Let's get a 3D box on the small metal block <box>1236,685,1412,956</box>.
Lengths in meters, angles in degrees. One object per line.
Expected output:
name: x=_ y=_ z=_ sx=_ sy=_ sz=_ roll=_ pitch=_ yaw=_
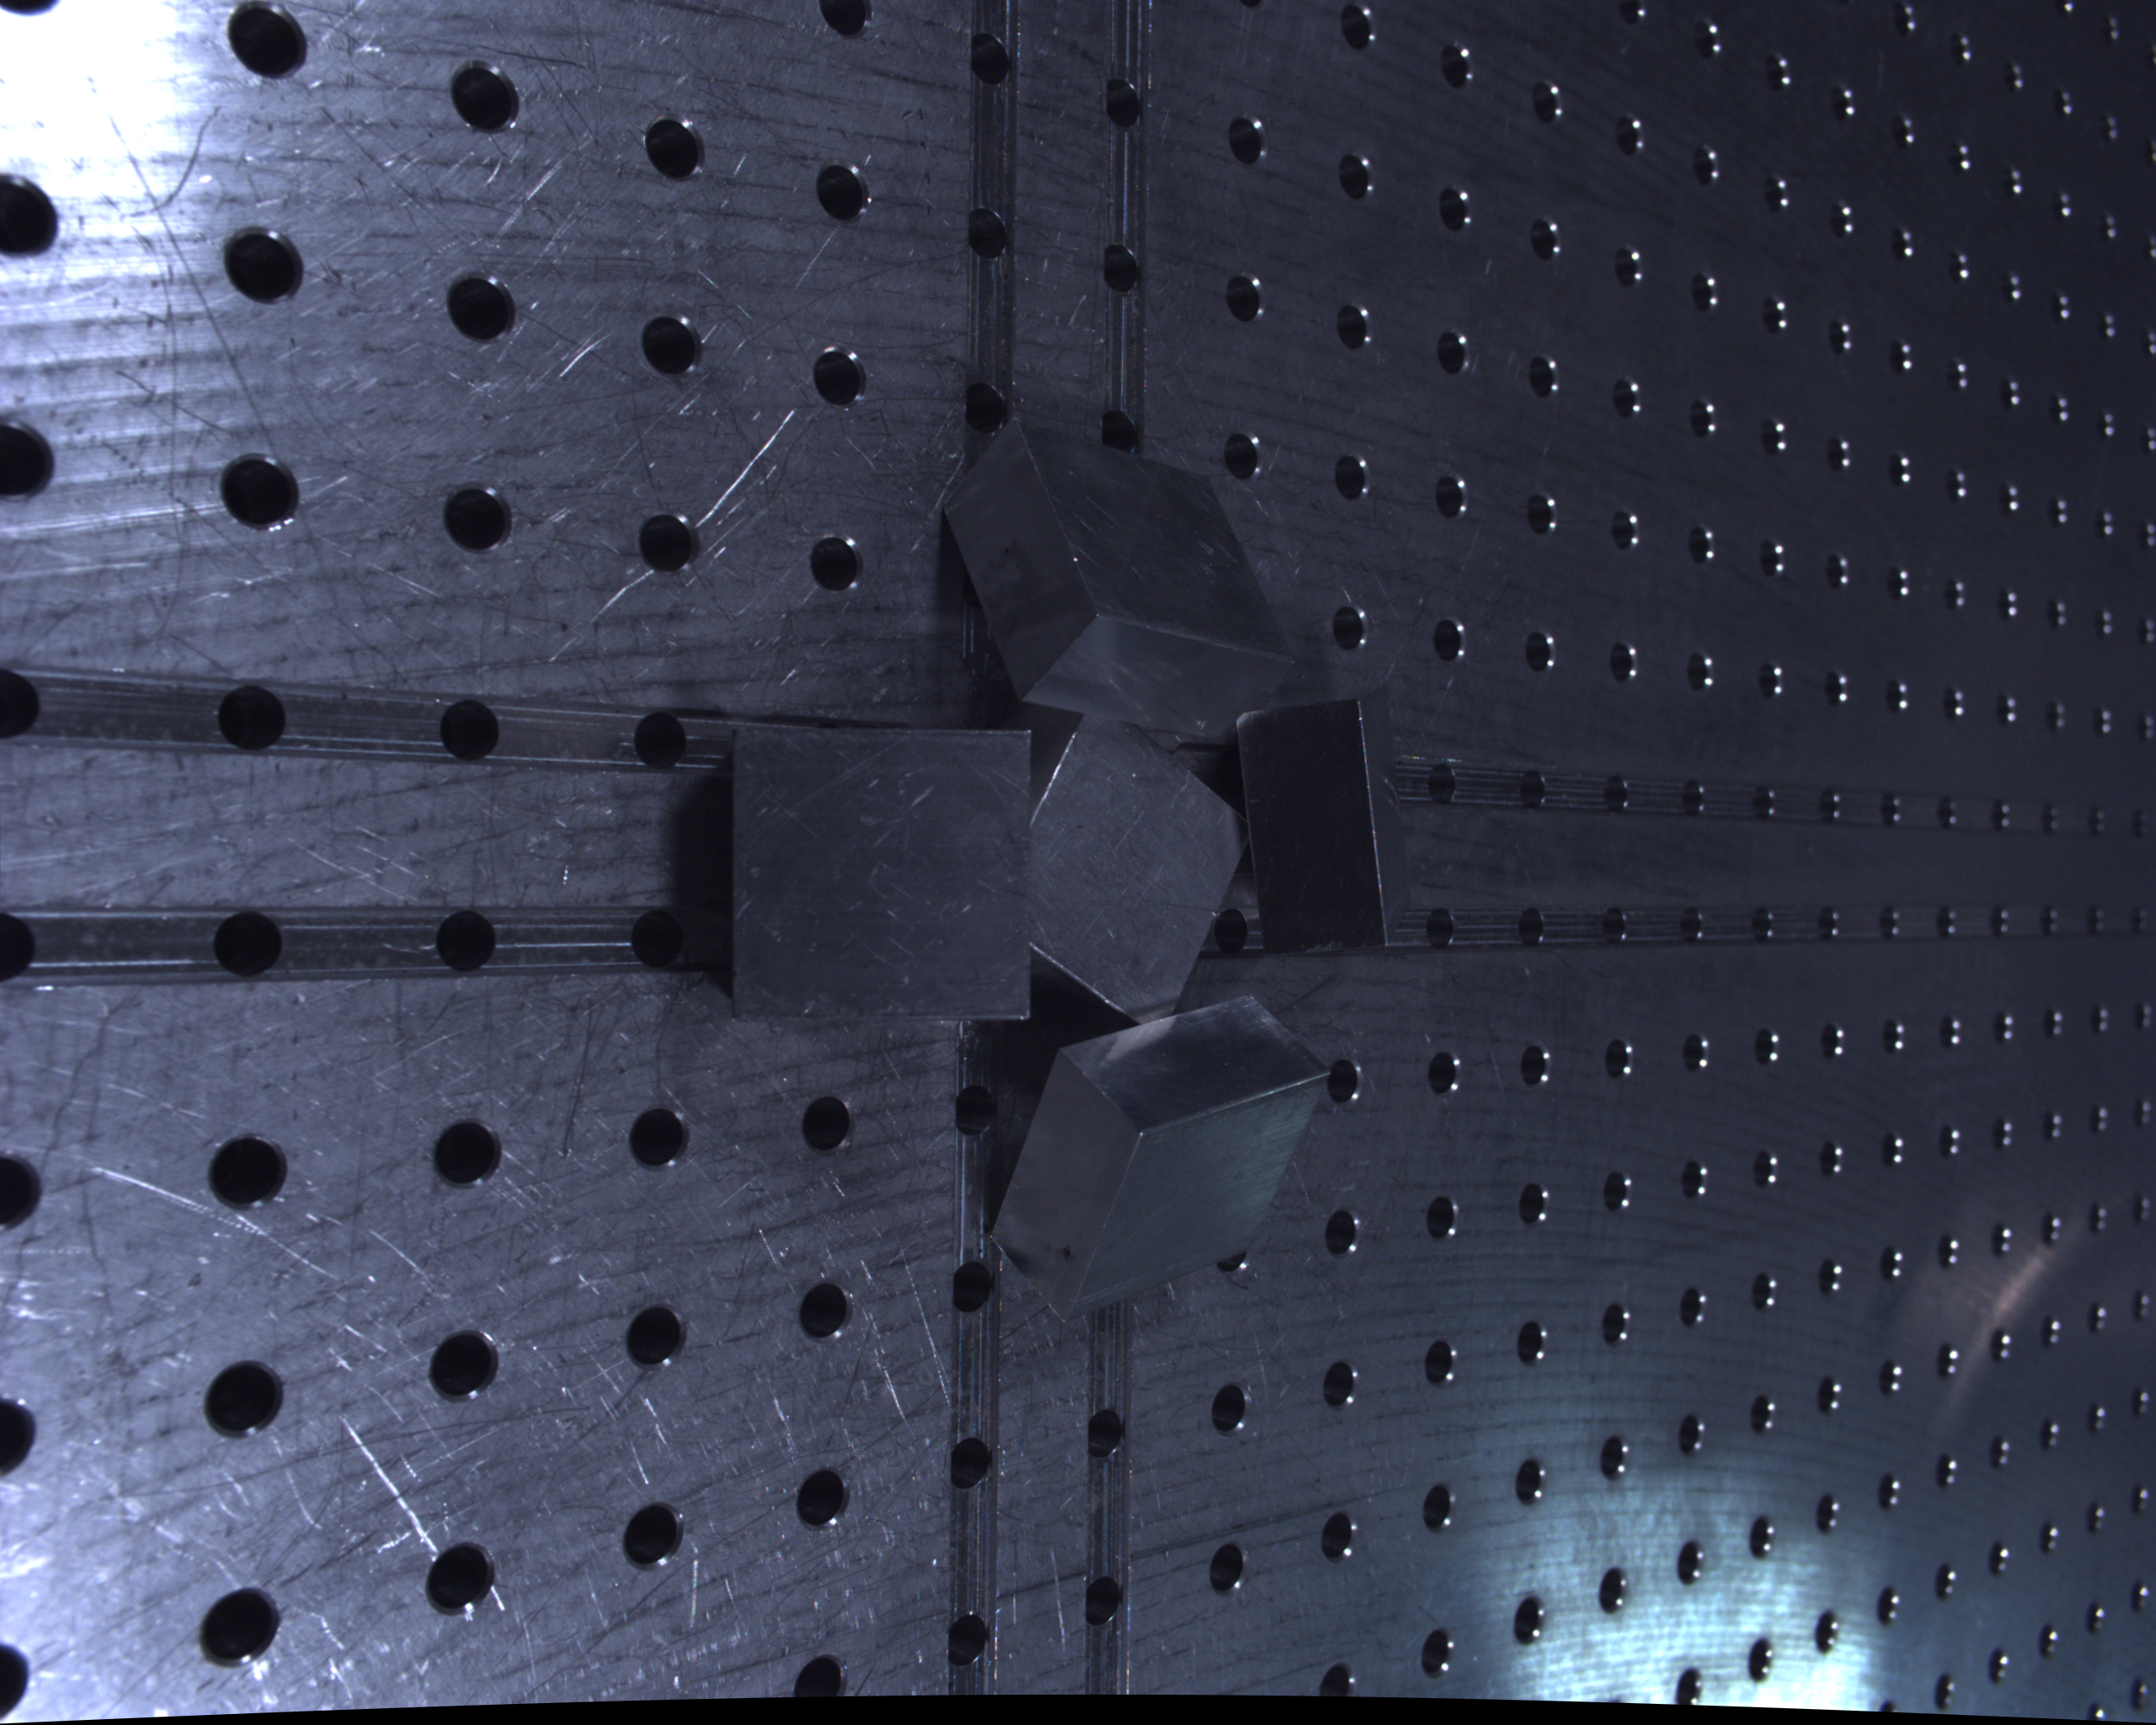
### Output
small metal block: x=0.053 y=-0.010 z=0.440 sx=0.050 sy=0.025 sz=0.050 roll=-29 pitch=112 yaw=-74

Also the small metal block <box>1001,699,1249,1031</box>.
small metal block: x=0.002 y=0.001 z=0.412 sx=0.050 sy=0.025 sz=0.050 roll=39 pitch=66 yaw=-34

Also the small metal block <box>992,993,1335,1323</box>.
small metal block: x=0.016 y=0.057 z=0.409 sx=0.050 sy=0.025 sz=0.050 roll=-12 pitch=133 yaw=-40

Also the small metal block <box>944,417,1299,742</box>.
small metal block: x=0.008 y=-0.054 z=0.401 sx=0.050 sy=0.025 sz=0.050 roll=8 pitch=49 yaw=-40

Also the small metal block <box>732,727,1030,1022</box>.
small metal block: x=-0.035 y=0.002 z=0.367 sx=0.050 sy=0.025 sz=0.050 roll=0 pitch=90 yaw=-6
